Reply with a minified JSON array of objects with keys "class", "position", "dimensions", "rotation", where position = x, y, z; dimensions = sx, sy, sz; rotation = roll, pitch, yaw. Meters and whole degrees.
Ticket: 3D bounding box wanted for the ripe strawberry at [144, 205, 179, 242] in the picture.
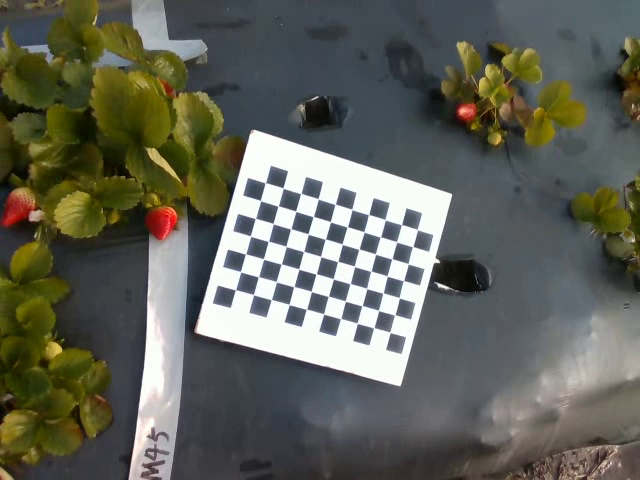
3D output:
[{"class":"ripe strawberry","position":[-0.185,-0.018,0.734],"dimensions":[0.050,0.055,0.035],"rotation":[11,-22,-18]}]
